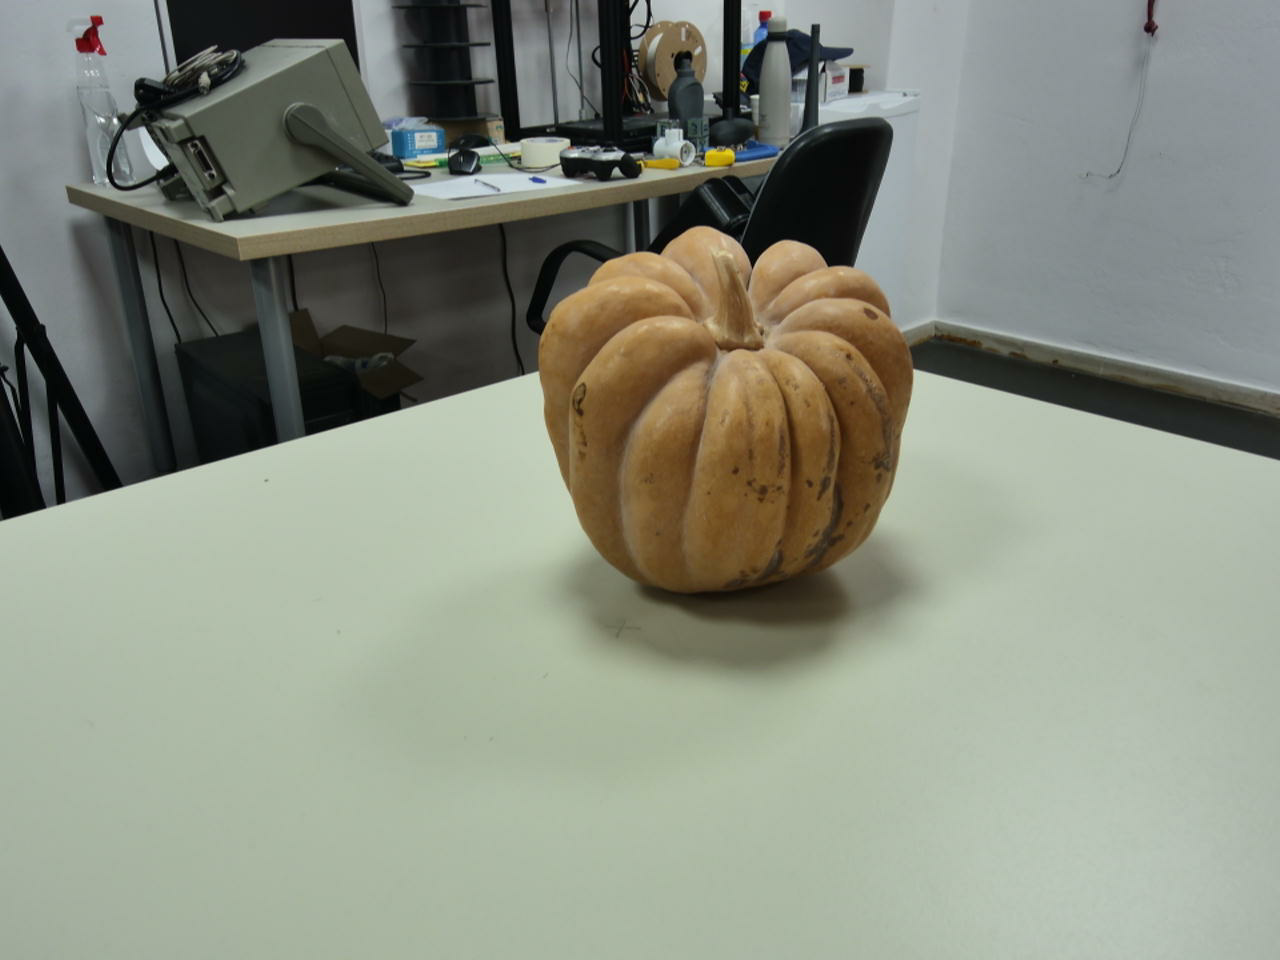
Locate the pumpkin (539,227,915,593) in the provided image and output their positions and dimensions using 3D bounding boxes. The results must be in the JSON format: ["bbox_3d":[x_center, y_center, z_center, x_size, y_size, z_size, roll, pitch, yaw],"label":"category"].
[{"bbox_3d":[0.044,-0.035,0.527,0.199,0.177,0.198,-1,23,0],"label":"pumpkin"}]
